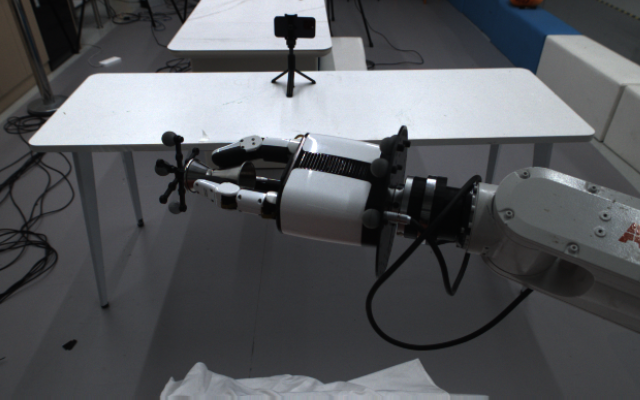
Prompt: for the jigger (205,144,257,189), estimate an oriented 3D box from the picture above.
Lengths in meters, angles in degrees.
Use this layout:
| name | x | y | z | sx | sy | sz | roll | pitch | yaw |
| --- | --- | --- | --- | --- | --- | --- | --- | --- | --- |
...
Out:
| name | x | y | z | sx | sy | sz | roll | pitch | yaw |
| --- | --- | --- | --- | --- | --- | --- | --- | --- | --- |
| jigger | -0.107 | -0.028 | 0.542 | 0.071 | 0.043 | 0.043 | 5 | 34 | 16 |
